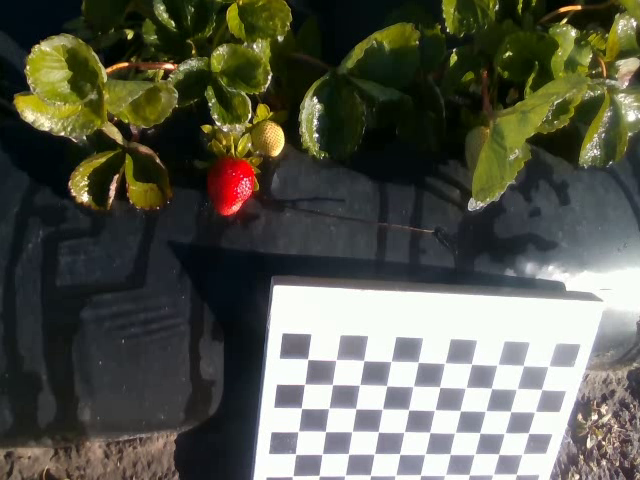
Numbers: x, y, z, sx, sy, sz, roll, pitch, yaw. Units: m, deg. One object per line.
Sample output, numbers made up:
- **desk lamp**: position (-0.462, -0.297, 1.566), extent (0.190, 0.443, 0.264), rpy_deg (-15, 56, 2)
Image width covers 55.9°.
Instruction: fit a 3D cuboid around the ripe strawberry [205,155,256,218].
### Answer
- **ripe strawberry**: position (-0.052, -0.028, 0.353), extent (0.039, 0.039, 0.040), rpy_deg (-2, -43, 3)
